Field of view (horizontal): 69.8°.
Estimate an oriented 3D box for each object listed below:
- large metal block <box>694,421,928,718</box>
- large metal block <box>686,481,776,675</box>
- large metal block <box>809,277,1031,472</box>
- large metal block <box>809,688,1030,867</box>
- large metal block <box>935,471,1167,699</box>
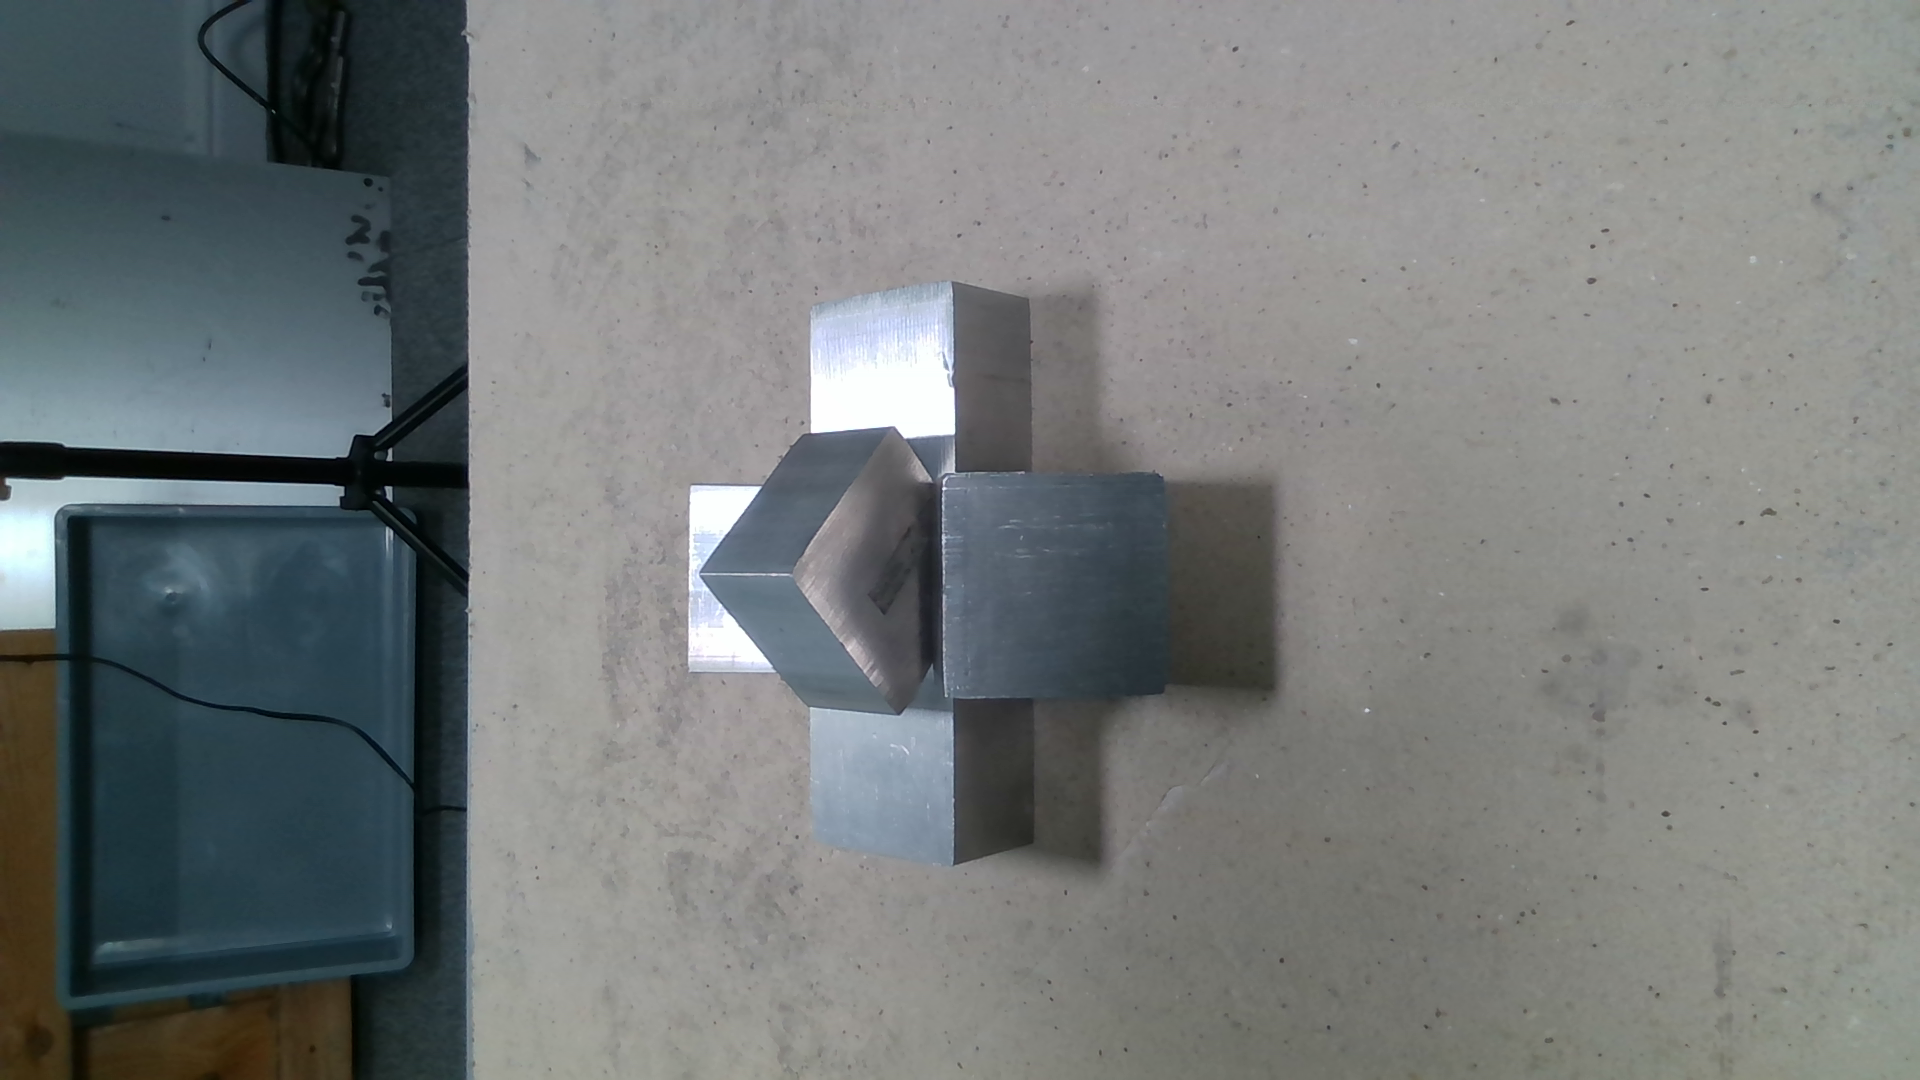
[{"bbox_3d":[-0.043,0.012,0.540,0.050,0.080,0.080,-1,46,40],"label":"large metal block"},{"bbox_3d":[-0.091,0.016,0.615,0.050,0.080,0.080,1,90,-3],"label":"large metal block"},{"bbox_3d":[-0.017,-0.062,0.580,0.080,0.050,0.080,-1,90,40],"label":"large metal block"},{"bbox_3d":[-0.018,0.087,0.578,0.080,0.050,0.080,0,90,40],"label":"large metal block"},{"bbox_3d":[0.031,0.016,0.512,0.050,0.080,0.080,179,91,-84],"label":"large metal block"}]
